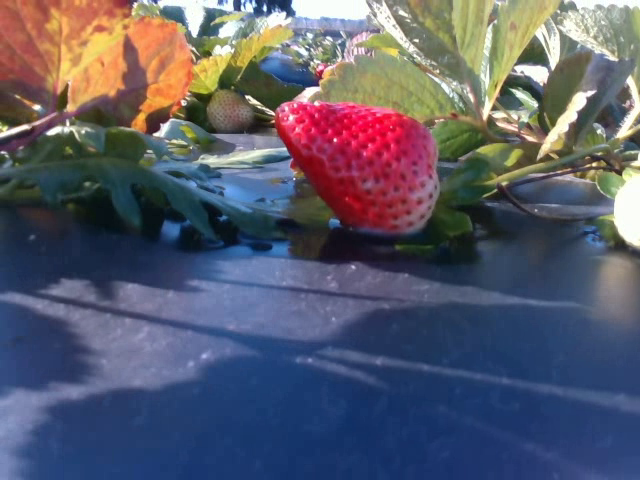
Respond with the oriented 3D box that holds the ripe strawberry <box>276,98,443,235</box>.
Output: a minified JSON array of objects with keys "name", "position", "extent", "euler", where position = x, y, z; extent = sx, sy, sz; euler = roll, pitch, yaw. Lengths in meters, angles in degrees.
[{"name":"ripe strawberry","position":[0.009,-0.021,0.158],"extent":[0.053,0.044,0.036],"euler":[23,-38,-11]}]
